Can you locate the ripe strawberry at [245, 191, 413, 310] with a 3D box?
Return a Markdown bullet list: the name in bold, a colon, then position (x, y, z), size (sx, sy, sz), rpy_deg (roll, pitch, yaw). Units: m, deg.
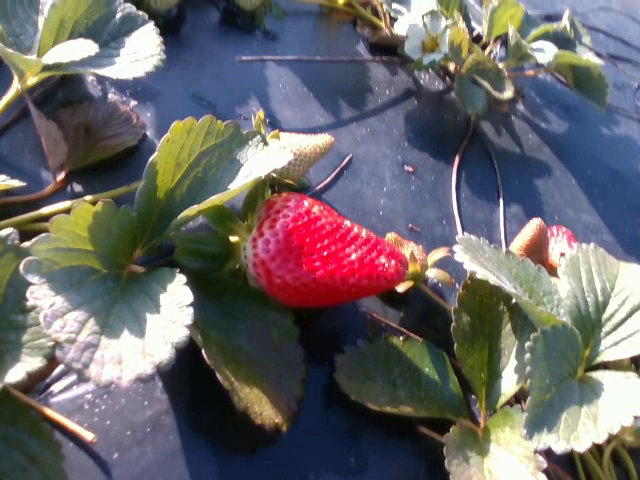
- **ripe strawberry**: position (0.004, 0.006, 0.243), size (0.072, 0.057, 0.055), rpy_deg (8, 7, 5)
